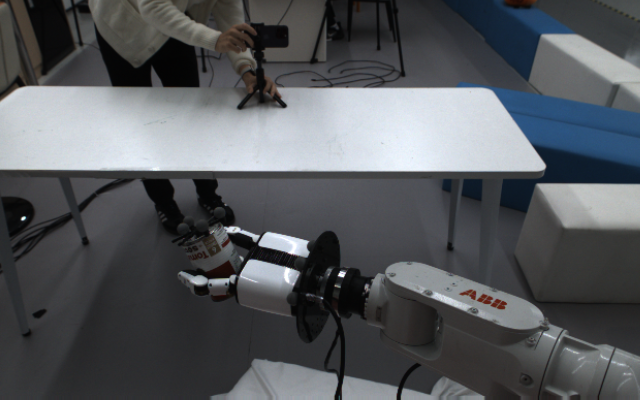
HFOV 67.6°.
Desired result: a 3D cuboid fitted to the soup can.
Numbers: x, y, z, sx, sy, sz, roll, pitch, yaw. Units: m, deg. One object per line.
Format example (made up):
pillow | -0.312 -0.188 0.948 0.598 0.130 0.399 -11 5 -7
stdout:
soup can | -0.154 0.093 0.727 0.067 0.101 0.067 -24 16 7
